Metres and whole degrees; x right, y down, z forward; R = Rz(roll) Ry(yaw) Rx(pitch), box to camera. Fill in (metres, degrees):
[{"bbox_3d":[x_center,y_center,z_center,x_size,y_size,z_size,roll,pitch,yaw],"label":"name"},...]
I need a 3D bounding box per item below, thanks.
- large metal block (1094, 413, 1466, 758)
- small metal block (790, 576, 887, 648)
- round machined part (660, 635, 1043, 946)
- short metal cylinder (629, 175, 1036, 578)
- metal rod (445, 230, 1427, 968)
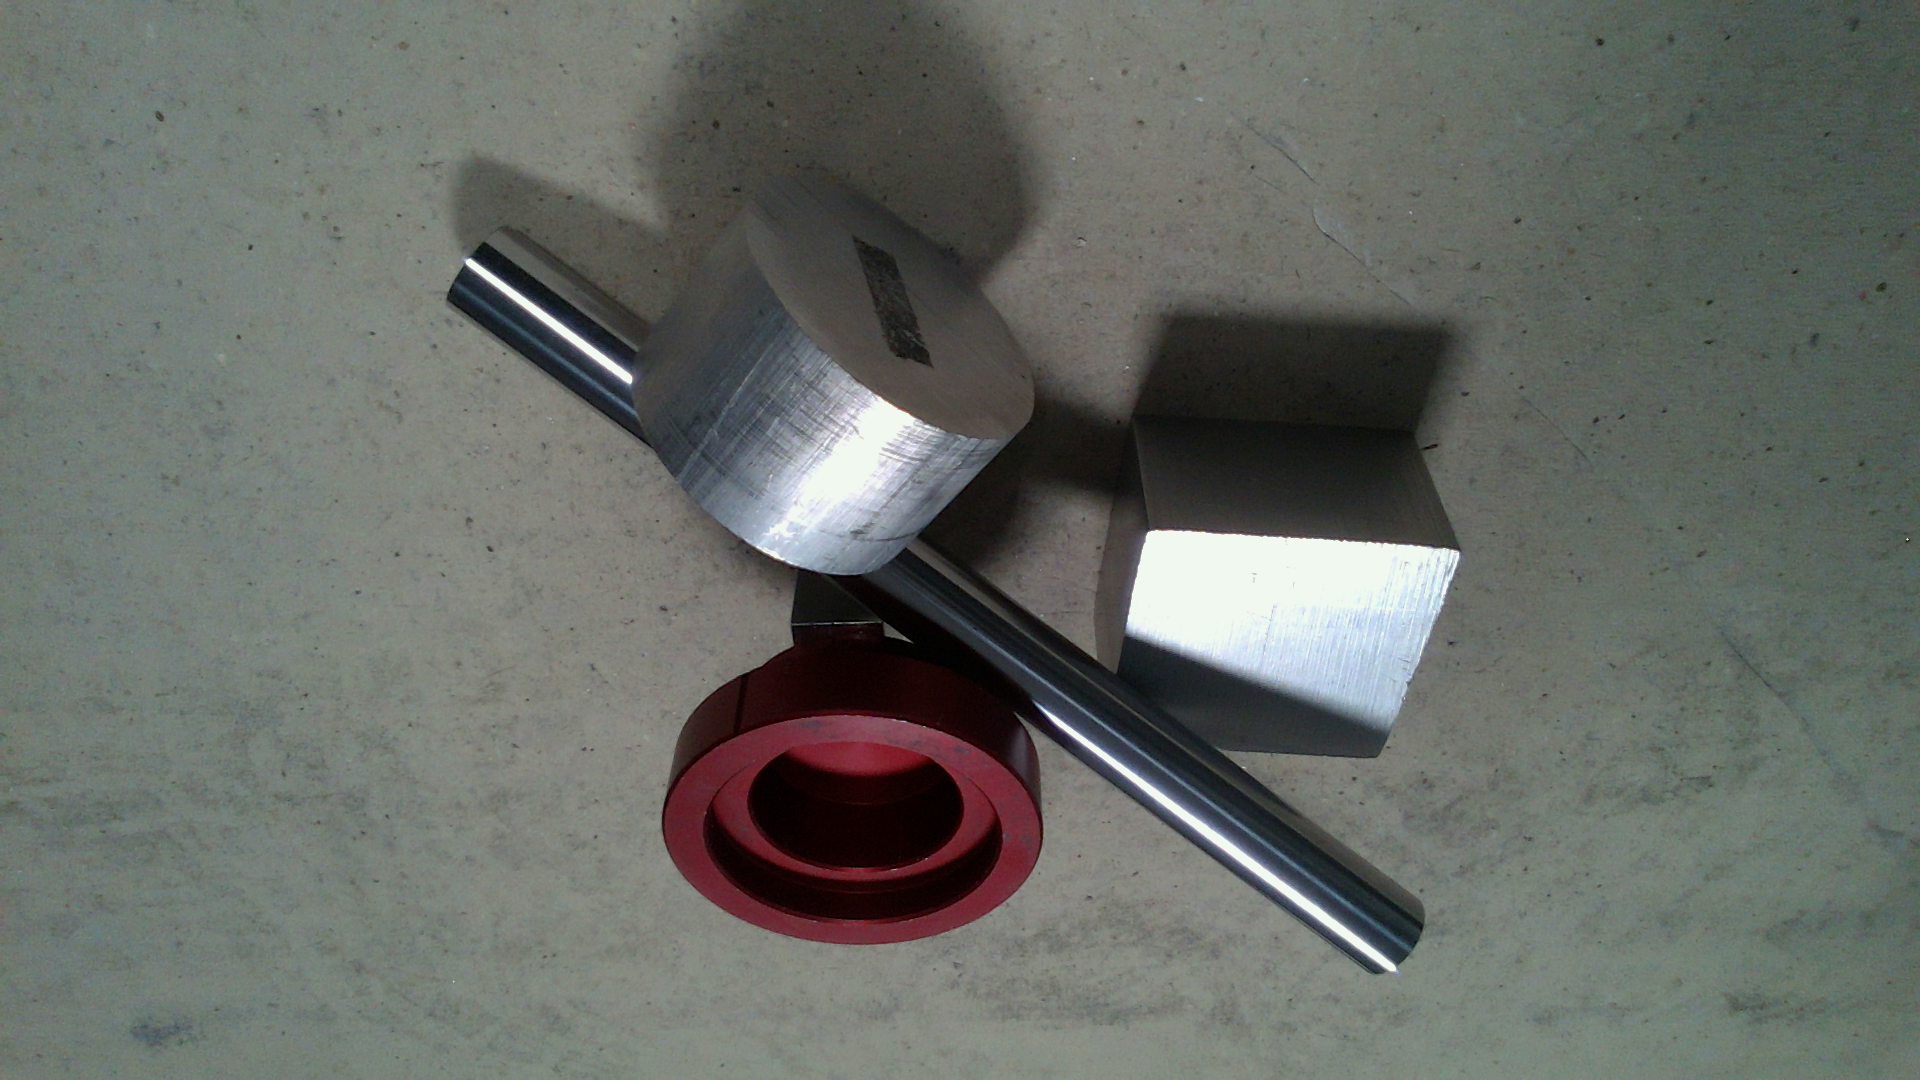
[{"bbox_3d":[0.084,0.014,0.387,0.080,0.050,0.080,3,130,-3],"label":"large metal block"},{"bbox_3d":[-0.031,0.025,0.396,0.025,0.050,0.050,-2,130,1],"label":"small metal block"},{"bbox_3d":[-0.028,0.064,0.368,0.098,0.042,0.098,0,132,0],"label":"round machined part"},{"bbox_3d":[-0.029,-0.038,0.322,0.080,0.080,0.050,30,124,-23],"label":"short metal cylinder"},{"bbox_3d":[0.002,0.022,0.360,0.300,0.025,0.025,36,123,-10],"label":"metal rod"}]
